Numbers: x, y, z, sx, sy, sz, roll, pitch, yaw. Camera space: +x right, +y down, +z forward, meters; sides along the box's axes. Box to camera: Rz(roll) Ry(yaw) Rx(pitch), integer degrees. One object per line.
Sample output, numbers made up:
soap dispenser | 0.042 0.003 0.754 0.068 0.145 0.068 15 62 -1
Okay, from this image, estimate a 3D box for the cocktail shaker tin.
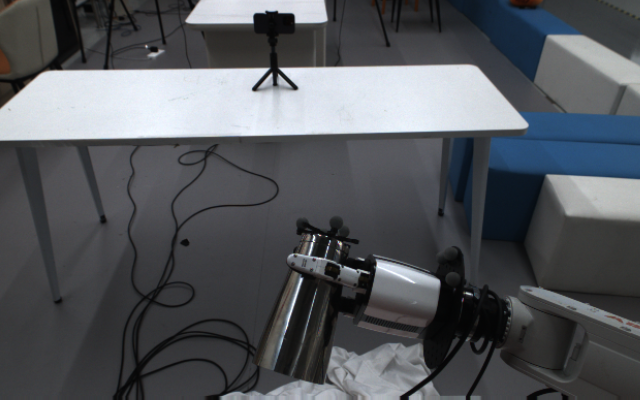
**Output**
cocktail shaker tin | -0.014 0.132 0.614 0.093 0.093 0.170 12 72 14
